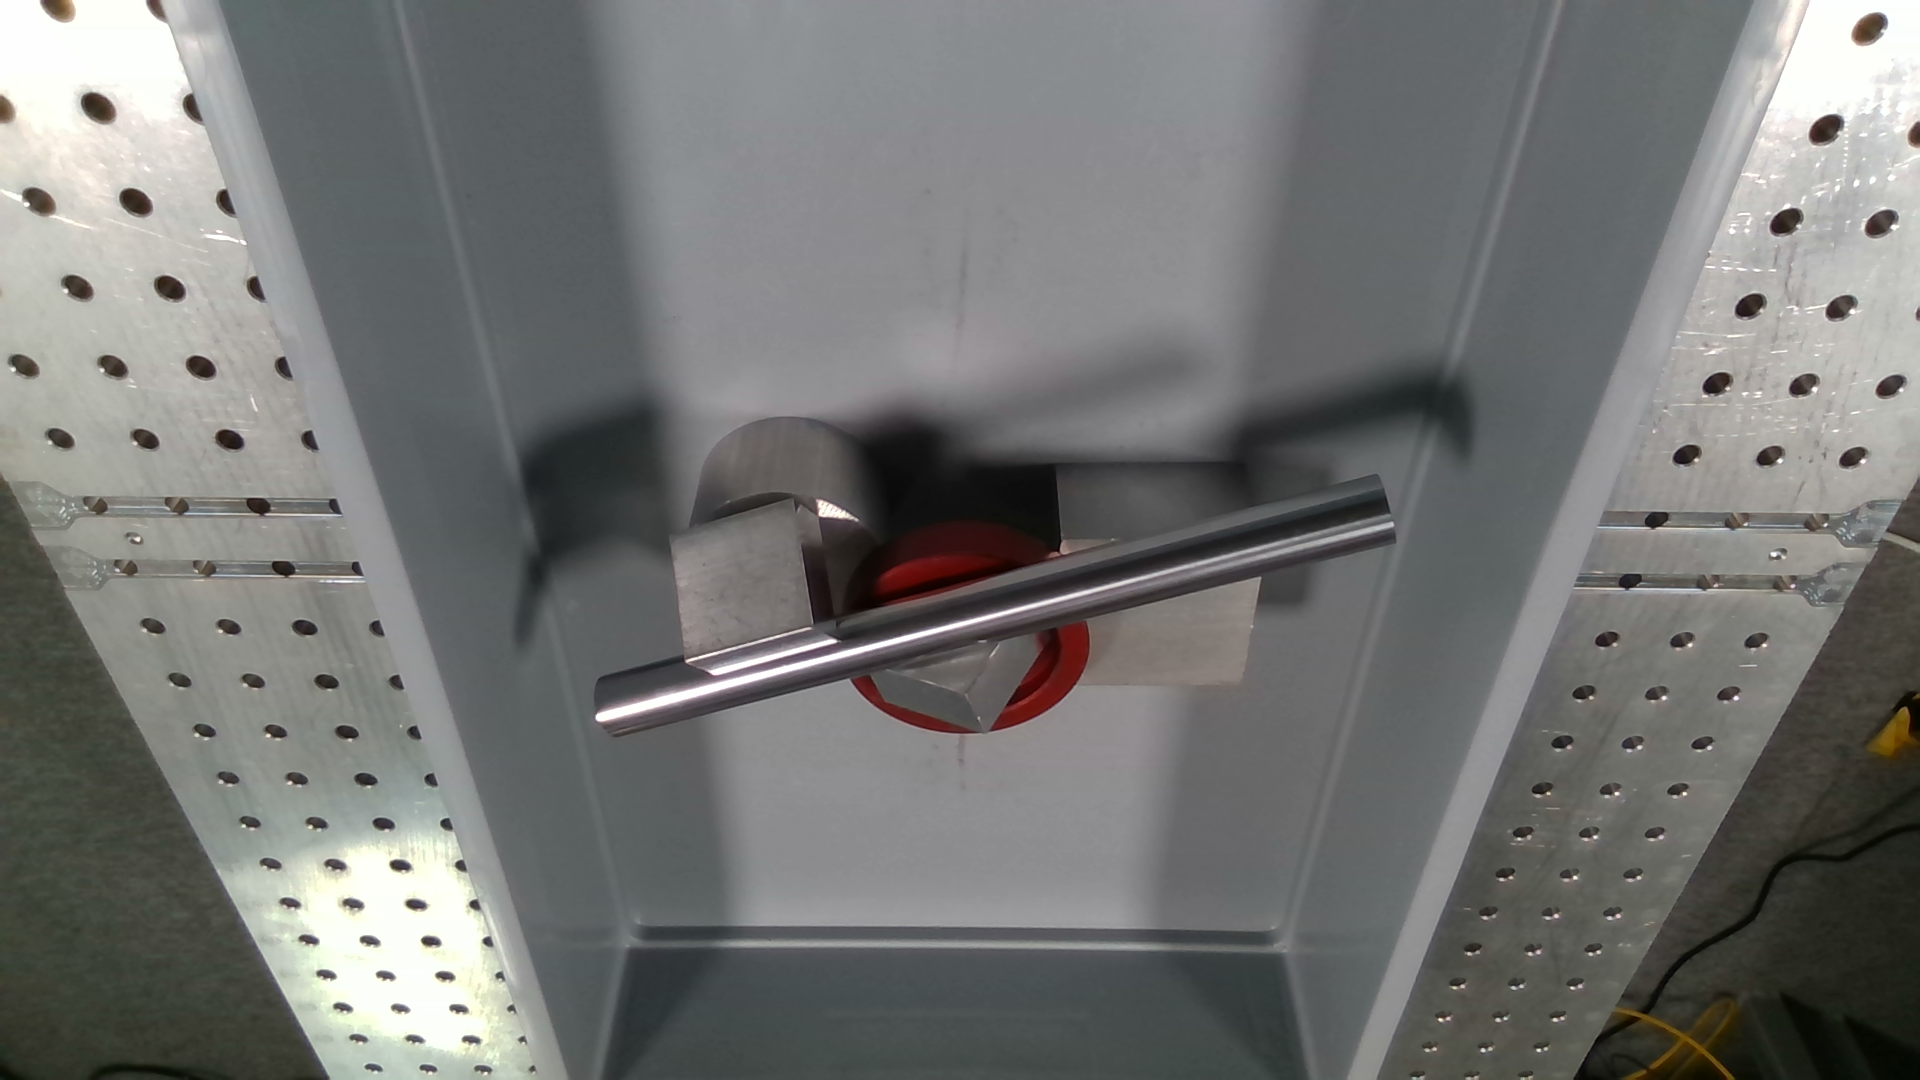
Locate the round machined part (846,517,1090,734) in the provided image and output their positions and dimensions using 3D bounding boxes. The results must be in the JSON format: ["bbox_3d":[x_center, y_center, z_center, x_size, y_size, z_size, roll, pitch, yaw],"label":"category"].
[{"bbox_3d":[0.002,0.030,0.554,0.098,0.042,0.098,0,130,0],"label":"round machined part"}]

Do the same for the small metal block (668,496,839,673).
[{"bbox_3d":[-0.076,0.017,0.508,0.050,0.050,0.025,-15,162,12],"label":"small metal block"}]

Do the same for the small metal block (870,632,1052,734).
[{"bbox_3d":[-0.001,0.042,0.534,0.050,0.050,0.025,13,143,36],"label":"small metal block"}]

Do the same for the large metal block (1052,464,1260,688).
[{"bbox_3d":[0.078,0.015,0.573,0.080,0.050,0.080,0,130,0],"label":"large metal block"}]

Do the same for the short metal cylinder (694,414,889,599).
[{"bbox_3d":[-0.069,-0.004,0.559,0.080,0.050,0.080,0,130,0],"label":"short metal cylinder"}]

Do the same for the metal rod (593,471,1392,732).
[{"bbox_3d":[0.005,0.026,0.509,0.300,0.025,0.025,-15,128,12],"label":"metal rod"}]
